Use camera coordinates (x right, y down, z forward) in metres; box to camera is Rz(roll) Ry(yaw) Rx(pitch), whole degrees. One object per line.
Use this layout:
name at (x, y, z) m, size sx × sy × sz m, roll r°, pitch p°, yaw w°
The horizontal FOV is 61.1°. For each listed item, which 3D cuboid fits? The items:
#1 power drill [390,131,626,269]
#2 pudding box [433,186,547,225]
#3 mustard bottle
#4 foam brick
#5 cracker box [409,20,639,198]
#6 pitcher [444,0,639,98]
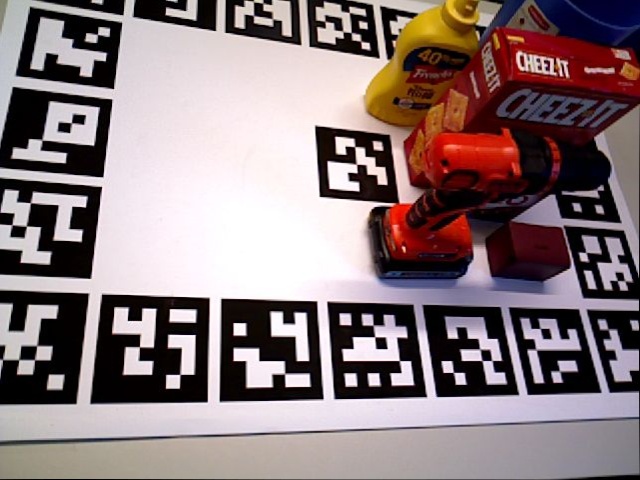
power drill at (0.163, -0.034, 0.523) m, size 0.182 × 0.191 × 0.057 m, roll 3°, pitch 62°, yaw -18°
pudding box at (0.197, -0.058, 0.625) m, size 0.112 × 0.092 × 0.038 m, roll 4°, pitch 64°, yaw -13°
mustard bottle at (0.127, -0.220, 0.618) m, size 0.095 × 0.195 × 0.057 m, roll 16°, pitch 63°, yaw -11°
foam brick at (0.246, 0.019, 0.645) m, size 0.077 × 0.052 × 0.052 m, roll 6°, pitch 67°, yaw -15°
cracker box at (0.217, -0.124, 0.597) m, size 0.162 × 0.218 × 0.071 m, roll 1°, pitch 64°, yaw -15°
pitcher at (0.257, -0.216, 0.644) m, size 0.187 × 0.248 × 0.132 m, roll 9°, pitch 64°, yaw -12°
